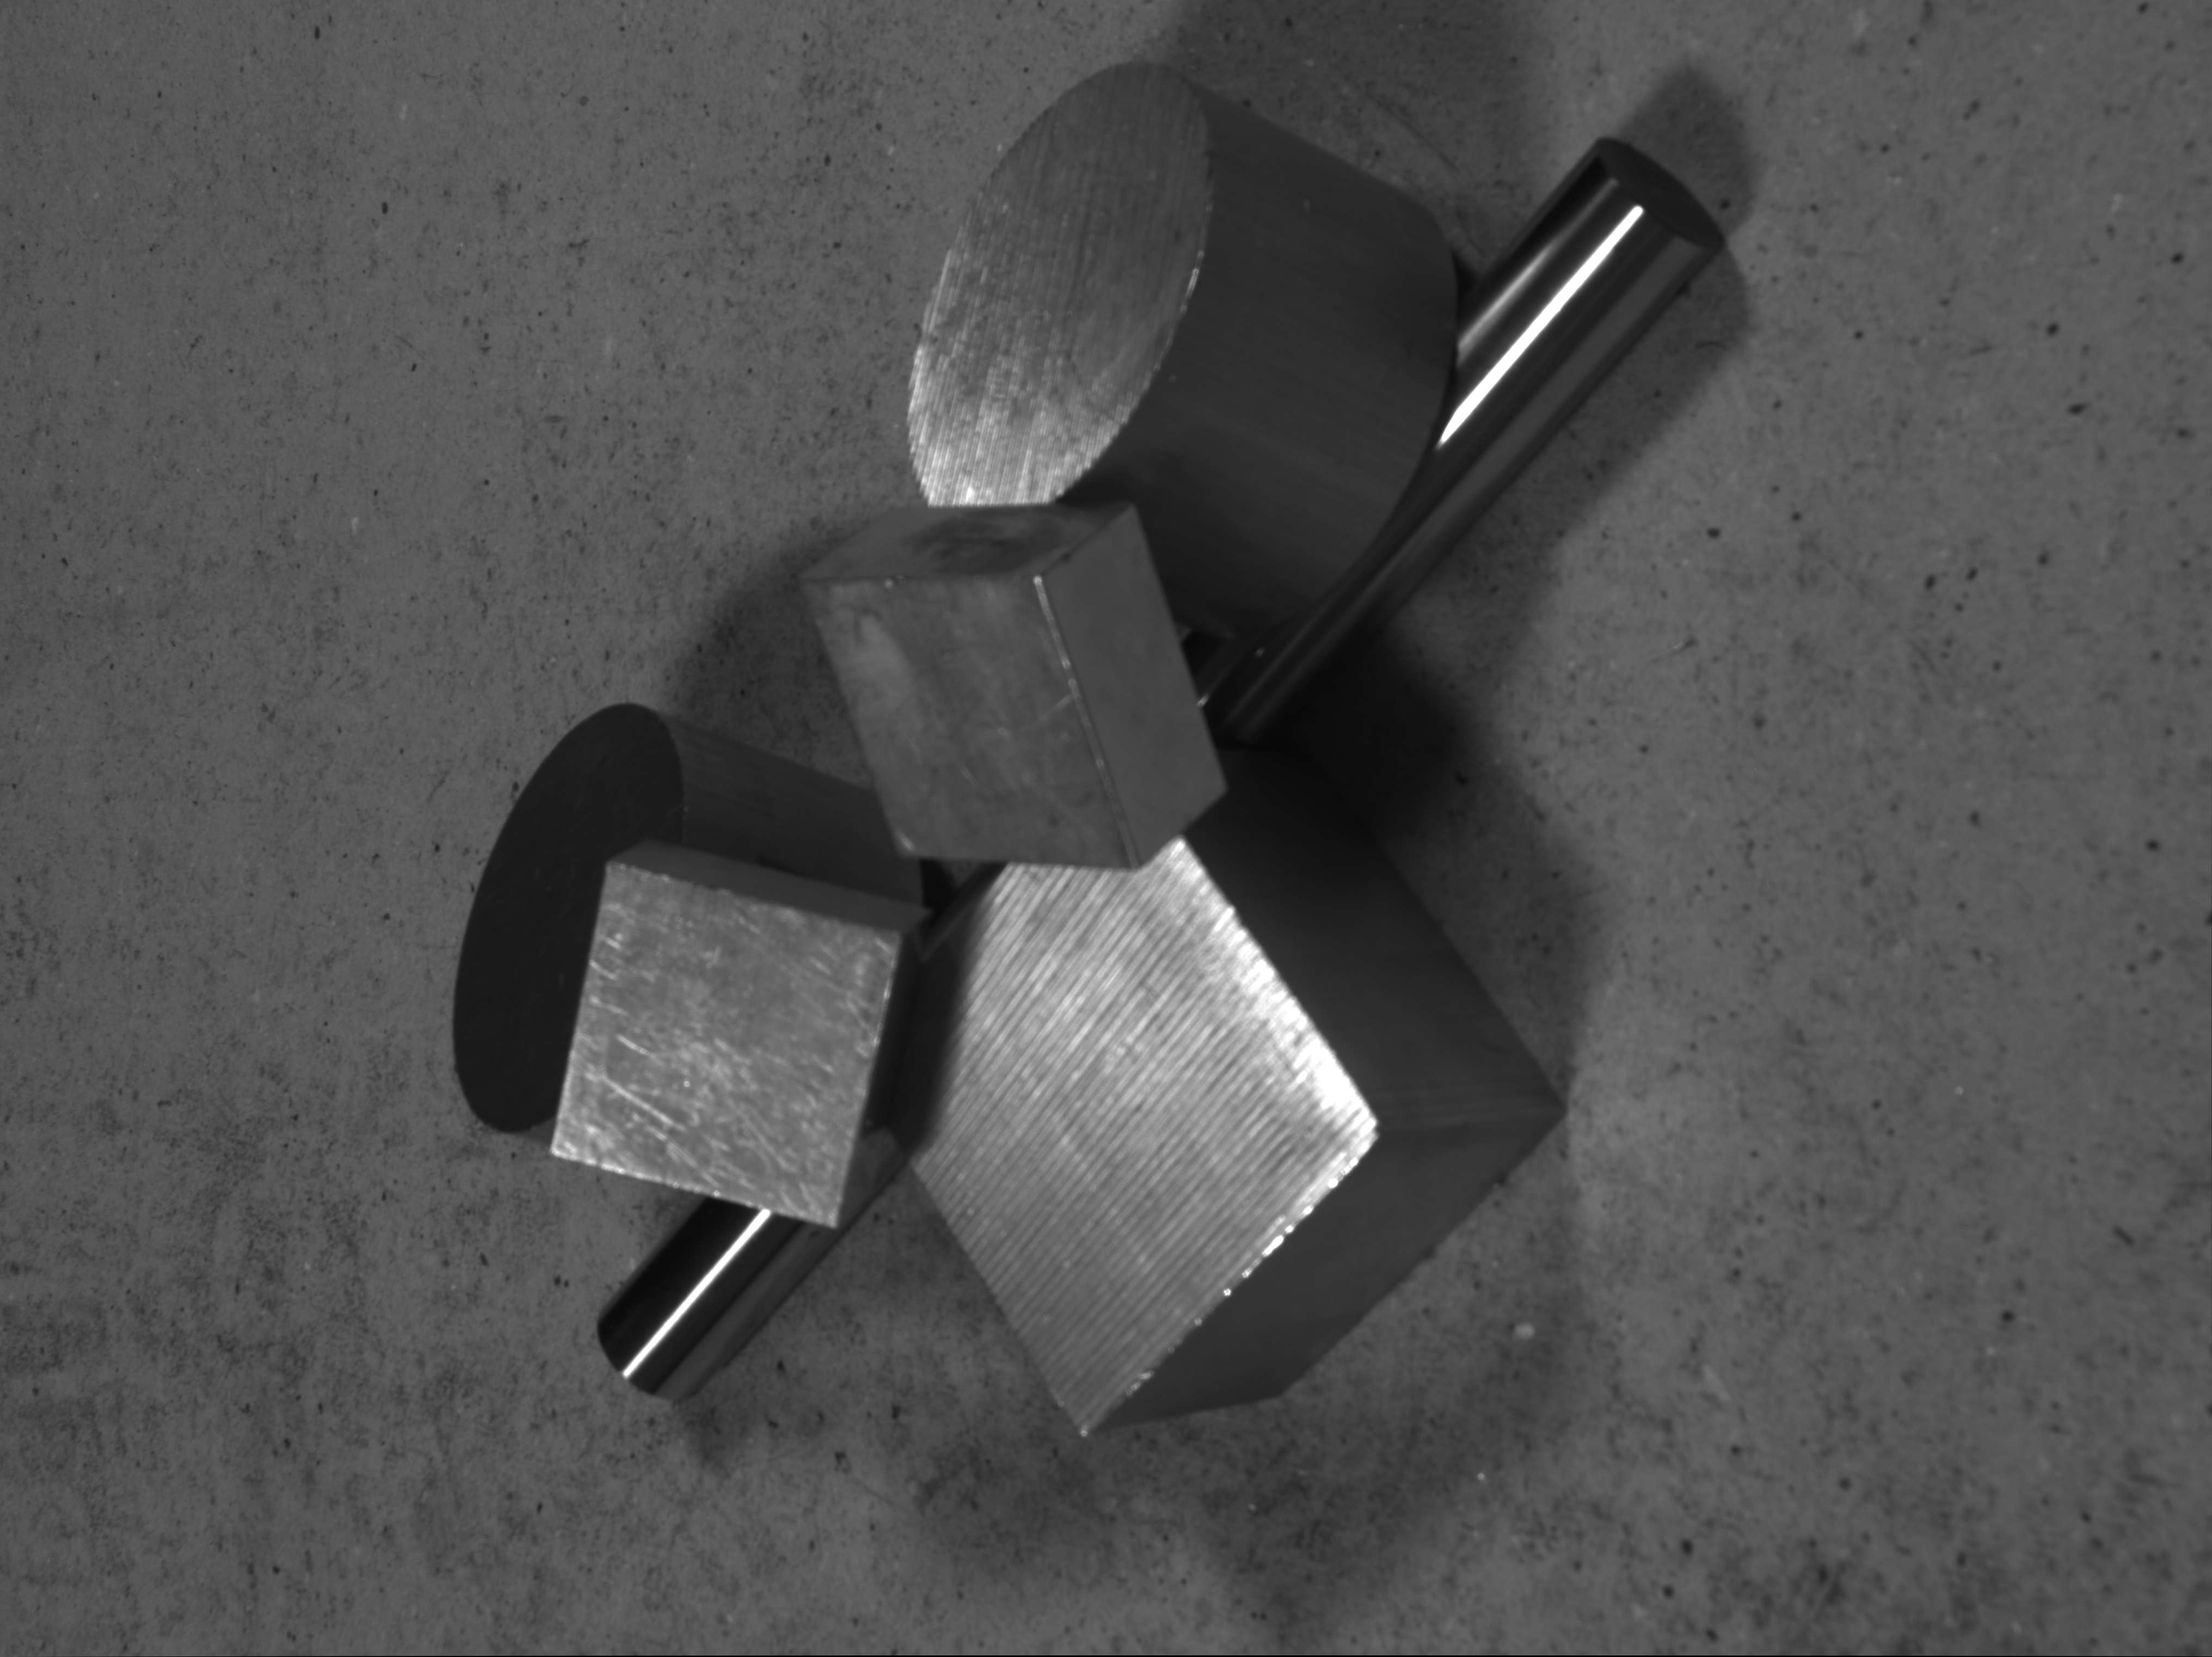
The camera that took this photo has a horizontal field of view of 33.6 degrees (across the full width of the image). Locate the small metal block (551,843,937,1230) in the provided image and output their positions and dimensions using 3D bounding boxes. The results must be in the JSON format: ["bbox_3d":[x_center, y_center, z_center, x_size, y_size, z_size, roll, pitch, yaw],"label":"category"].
[{"bbox_3d":[-0.060,0.033,0.605,0.050,0.025,0.050,14,100,6],"label":"small metal block"}]

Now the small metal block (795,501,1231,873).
[{"bbox_3d":[-0.014,-0.022,0.567,0.050,0.025,0.050,3,122,39],"label":"small metal block"}]

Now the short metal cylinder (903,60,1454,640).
[{"bbox_3d":[0.011,-0.077,0.593,0.080,0.050,0.080,-33,47,43],"label":"short metal cylinder"}]

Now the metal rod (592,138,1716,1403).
[{"bbox_3d":[-0.002,0.001,0.638,0.300,0.025,0.025,-49,61,28],"label":"metal rod"}]

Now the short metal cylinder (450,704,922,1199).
[{"bbox_3d":[-0.077,0.023,0.665,0.080,0.050,0.080,-32,47,43],"label":"short metal cylinder"}]

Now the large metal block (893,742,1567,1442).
[{"bbox_3d":[0.015,0.042,0.606,0.080,0.050,0.080,-49,61,28],"label":"large metal block"}]
